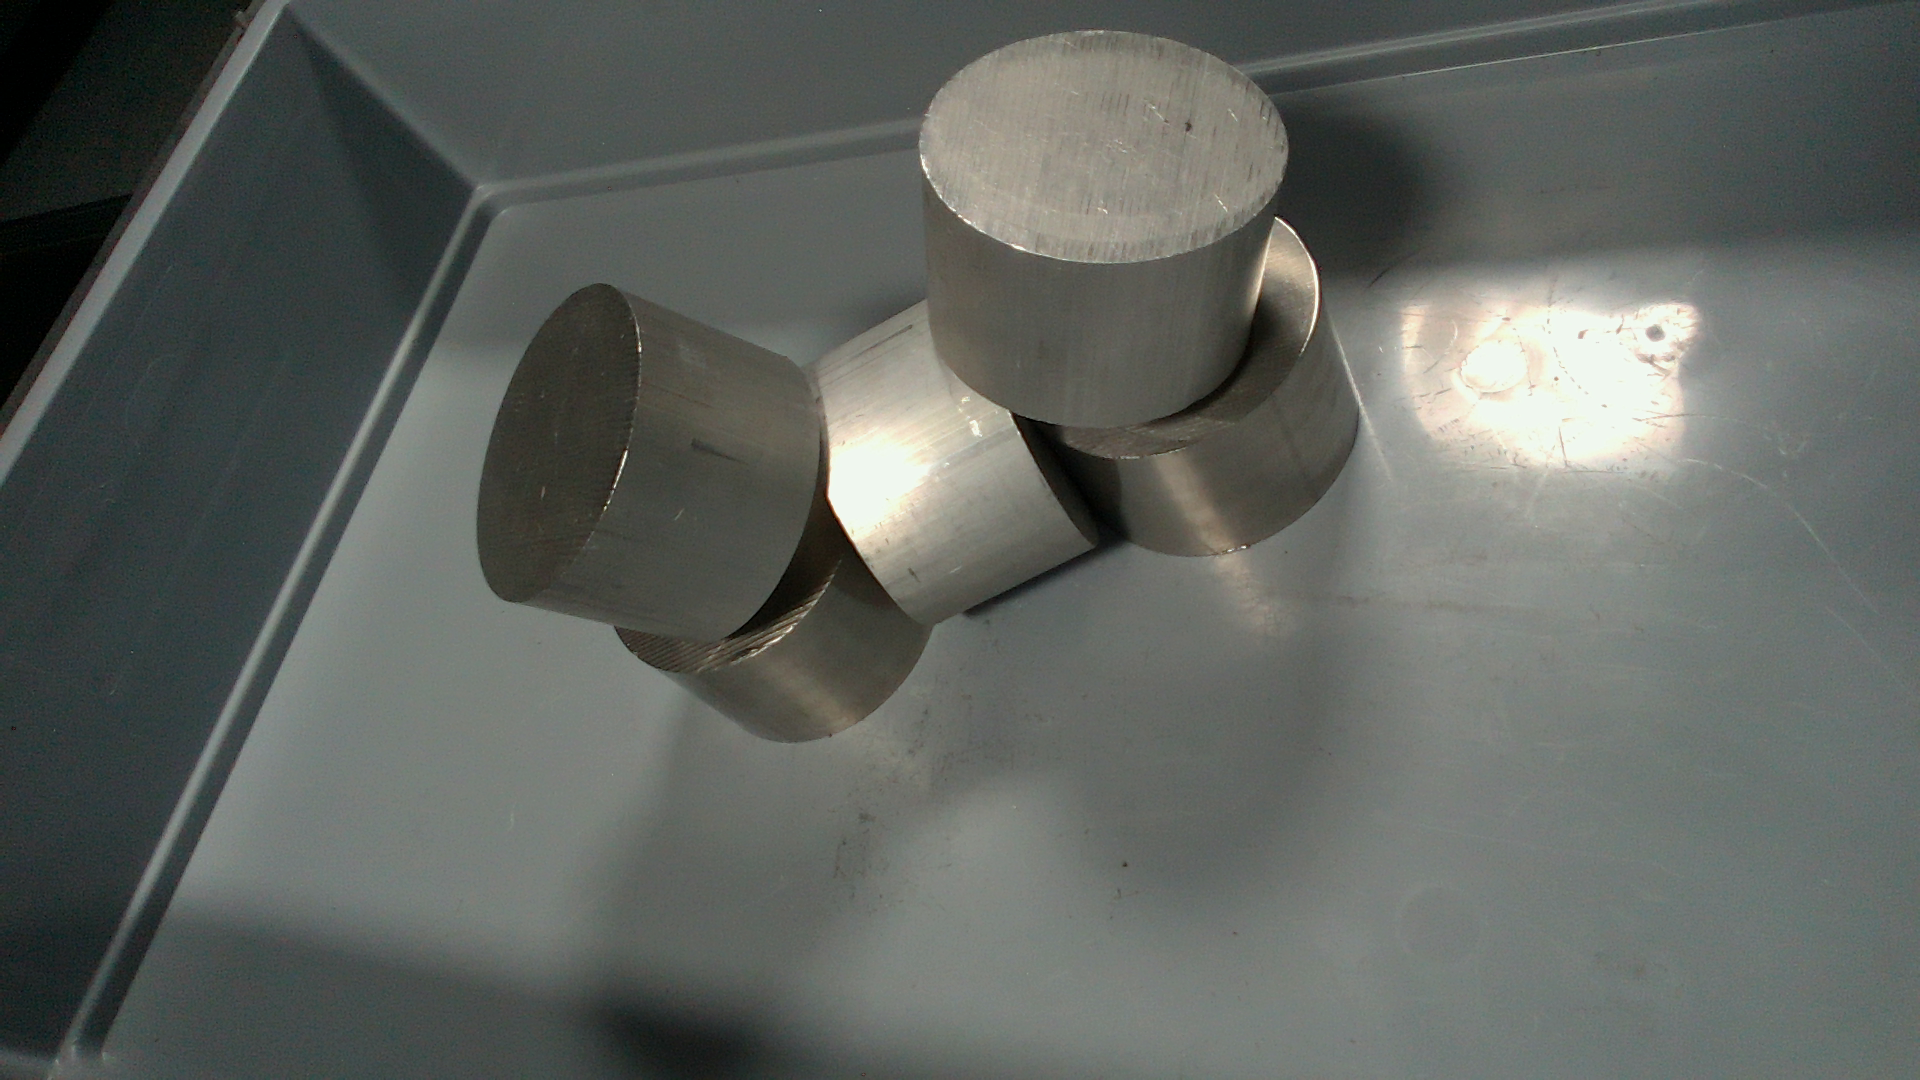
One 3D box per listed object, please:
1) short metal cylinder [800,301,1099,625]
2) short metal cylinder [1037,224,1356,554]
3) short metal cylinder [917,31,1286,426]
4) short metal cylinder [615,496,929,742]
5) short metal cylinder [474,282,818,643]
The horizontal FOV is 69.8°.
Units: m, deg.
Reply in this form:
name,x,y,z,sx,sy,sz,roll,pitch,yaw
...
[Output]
name,x,y,z,sx,sy,sz,roll,pitch,yaw
short metal cylinder,-0.002,-0.024,0.373,0.050,0.080,0.080,-26,52,12
short metal cylinder,0.061,-0.043,0.370,0.080,0.050,0.080,-14,56,21
short metal cylinder,0.031,-0.073,0.320,0.080,0.050,0.080,0,52,1
short metal cylinder,-0.054,0.012,0.398,0.080,0.050,0.080,-14,56,21
short metal cylinder,-0.080,-0.018,0.347,0.080,0.050,0.080,-21,60,43
